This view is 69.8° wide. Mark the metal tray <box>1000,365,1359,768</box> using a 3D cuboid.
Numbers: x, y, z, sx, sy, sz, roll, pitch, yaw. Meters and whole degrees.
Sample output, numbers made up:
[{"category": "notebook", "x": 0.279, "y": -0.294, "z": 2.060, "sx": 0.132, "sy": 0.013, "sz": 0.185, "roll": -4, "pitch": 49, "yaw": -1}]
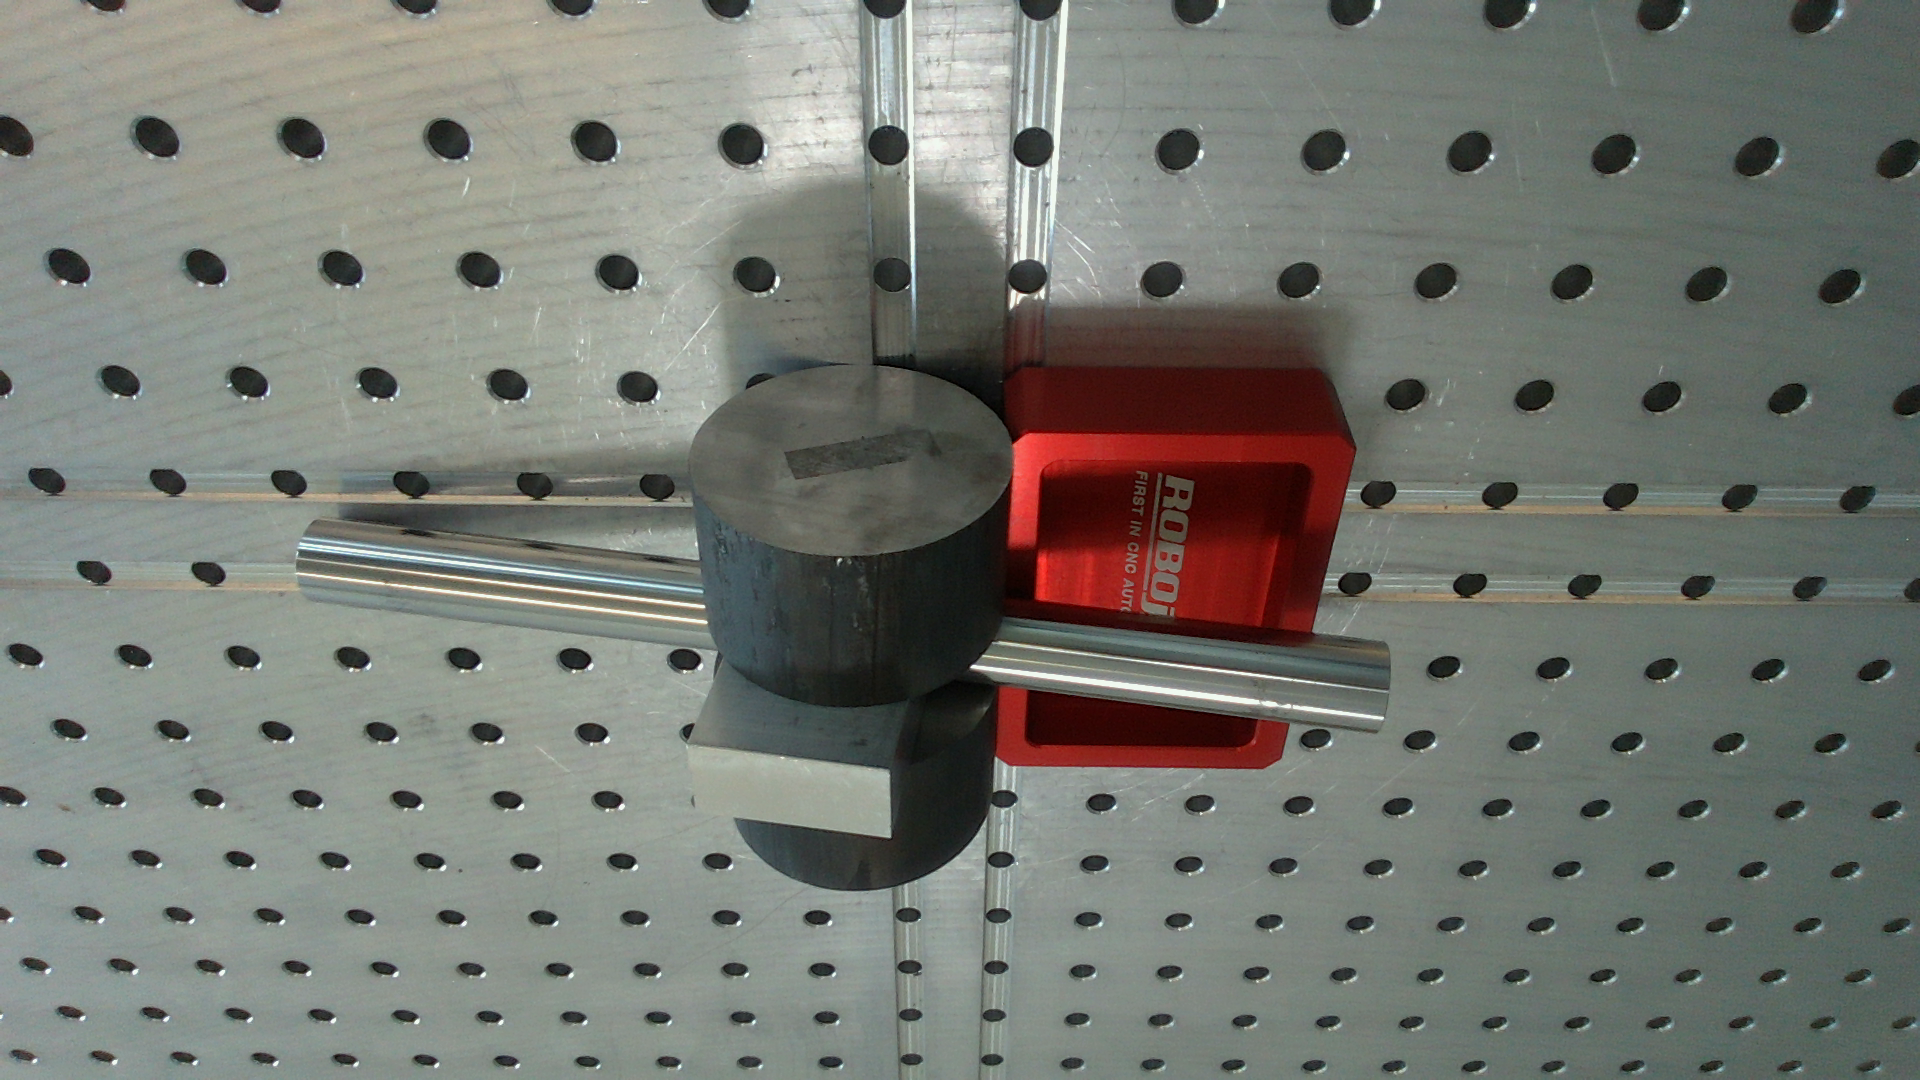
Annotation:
[{"category": "metal tray", "x": 0.056, "y": 0.012, "z": 0.401, "sx": 0.090, "sy": 0.030, "sz": 0.130, "roll": 1, "pitch": 130, "yaw": -1}]

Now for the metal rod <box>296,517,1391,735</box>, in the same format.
[{"category": "metal rod", "x": -0.036, "y": 0.023, "z": 0.382, "sx": 0.300, "sy": 0.025, "sz": 0.025, "roll": 7, "pitch": 130, "yaw": 6}]

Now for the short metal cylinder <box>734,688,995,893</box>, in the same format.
[{"category": "short metal cylinder", "x": -0.030, "y": 0.055, "z": 0.403, "sx": 0.080, "sy": 0.080, "sz": 0.050, "roll": 1, "pitch": 130, "yaw": -1}]

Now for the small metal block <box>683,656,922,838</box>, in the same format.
[{"category": "small metal block", "x": -0.038, "y": 0.046, "z": 0.353, "sx": 0.050, "sy": 0.050, "sz": 0.025, "roll": 6, "pitch": 130, "yaw": 6}]

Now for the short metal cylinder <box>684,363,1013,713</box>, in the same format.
[{"category": "short metal cylinder", "x": -0.027, "y": -0.002, "z": 0.353, "sx": 0.080, "sy": 0.080, "sz": 0.050, "roll": 0, "pitch": 130, "yaw": -1}]
